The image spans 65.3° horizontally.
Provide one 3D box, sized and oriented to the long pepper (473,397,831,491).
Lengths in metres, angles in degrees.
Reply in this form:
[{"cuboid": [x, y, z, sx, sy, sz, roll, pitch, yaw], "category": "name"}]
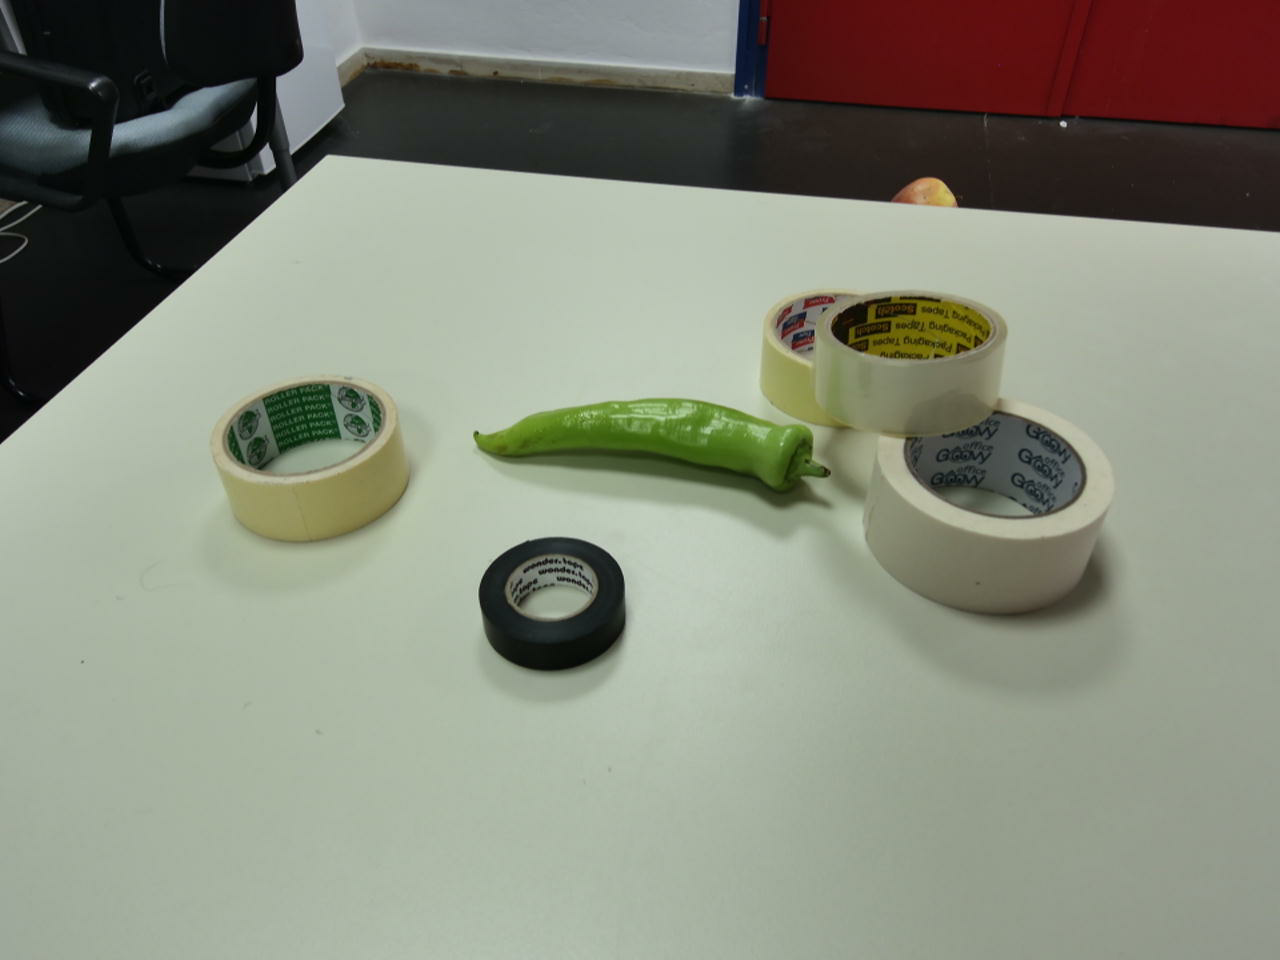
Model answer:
[{"cuboid": [0.005, -0.025, 0.535, 0.197, 0.038, 0.046, 9, 40, 12], "category": "long pepper"}]
